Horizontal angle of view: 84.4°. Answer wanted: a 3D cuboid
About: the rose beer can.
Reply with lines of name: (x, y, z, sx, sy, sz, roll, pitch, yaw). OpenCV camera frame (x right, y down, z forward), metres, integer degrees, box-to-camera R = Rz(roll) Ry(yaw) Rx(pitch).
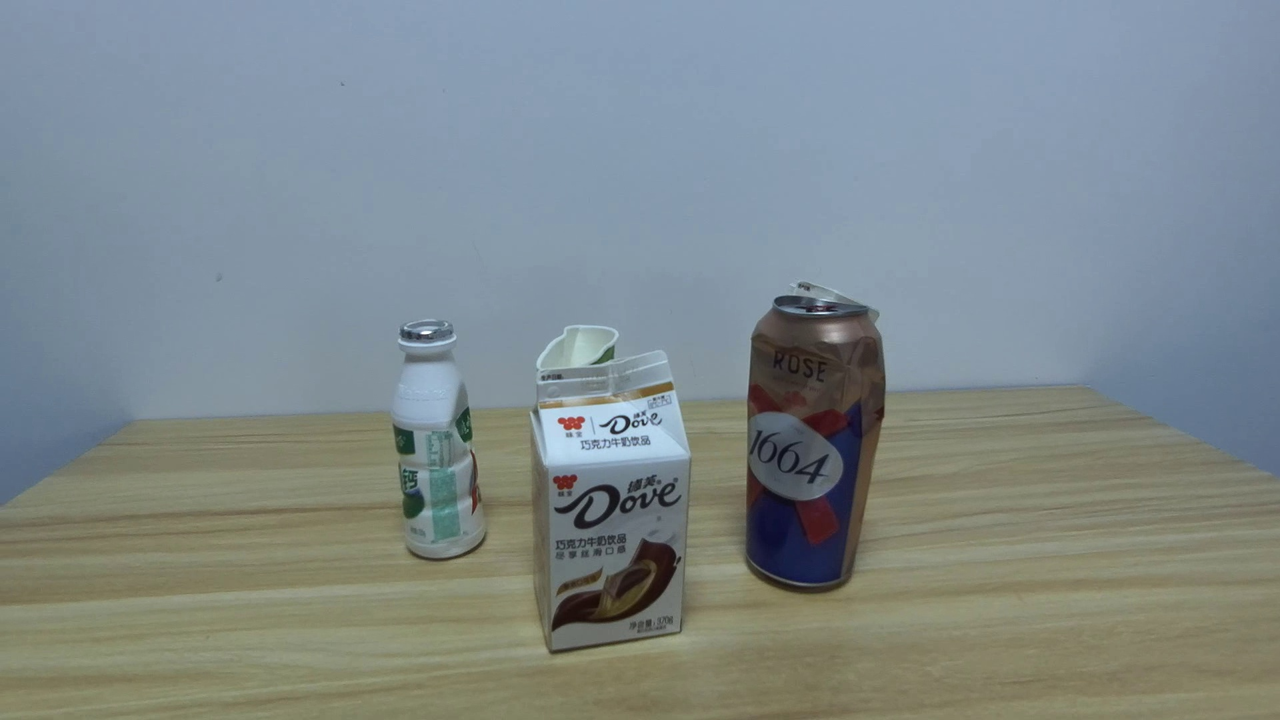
rose beer can: (0.101, 0.048, 0.415, 0.065, 0.167, 0.075, -6, 16, -27)

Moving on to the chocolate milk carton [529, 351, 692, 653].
chocolate milk carton: (-0.018, 0.068, 0.381, 0.075, 0.148, 0.074, -3, 20, -14)

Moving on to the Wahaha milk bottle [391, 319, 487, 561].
Wahaha milk bottle: (-0.128, 0.051, 0.448, 0.056, 0.147, 0.056, 0, 15, 0)
